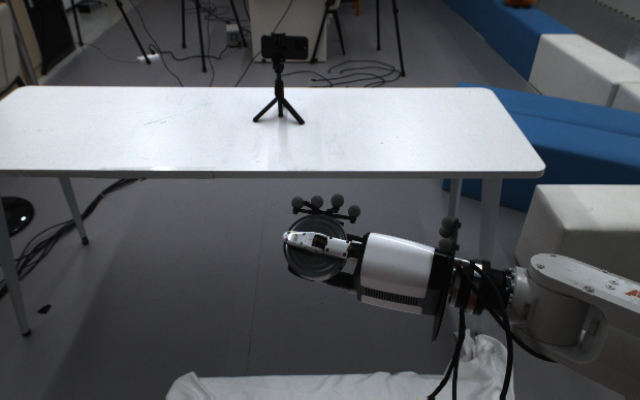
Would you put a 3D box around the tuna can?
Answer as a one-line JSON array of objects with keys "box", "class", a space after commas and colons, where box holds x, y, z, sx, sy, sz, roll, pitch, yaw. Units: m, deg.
[{"box": [-0.003, 0.063, 0.646, 0.085, 0.034, 0.085, -3, 69, 7], "class": "tuna can"}]
